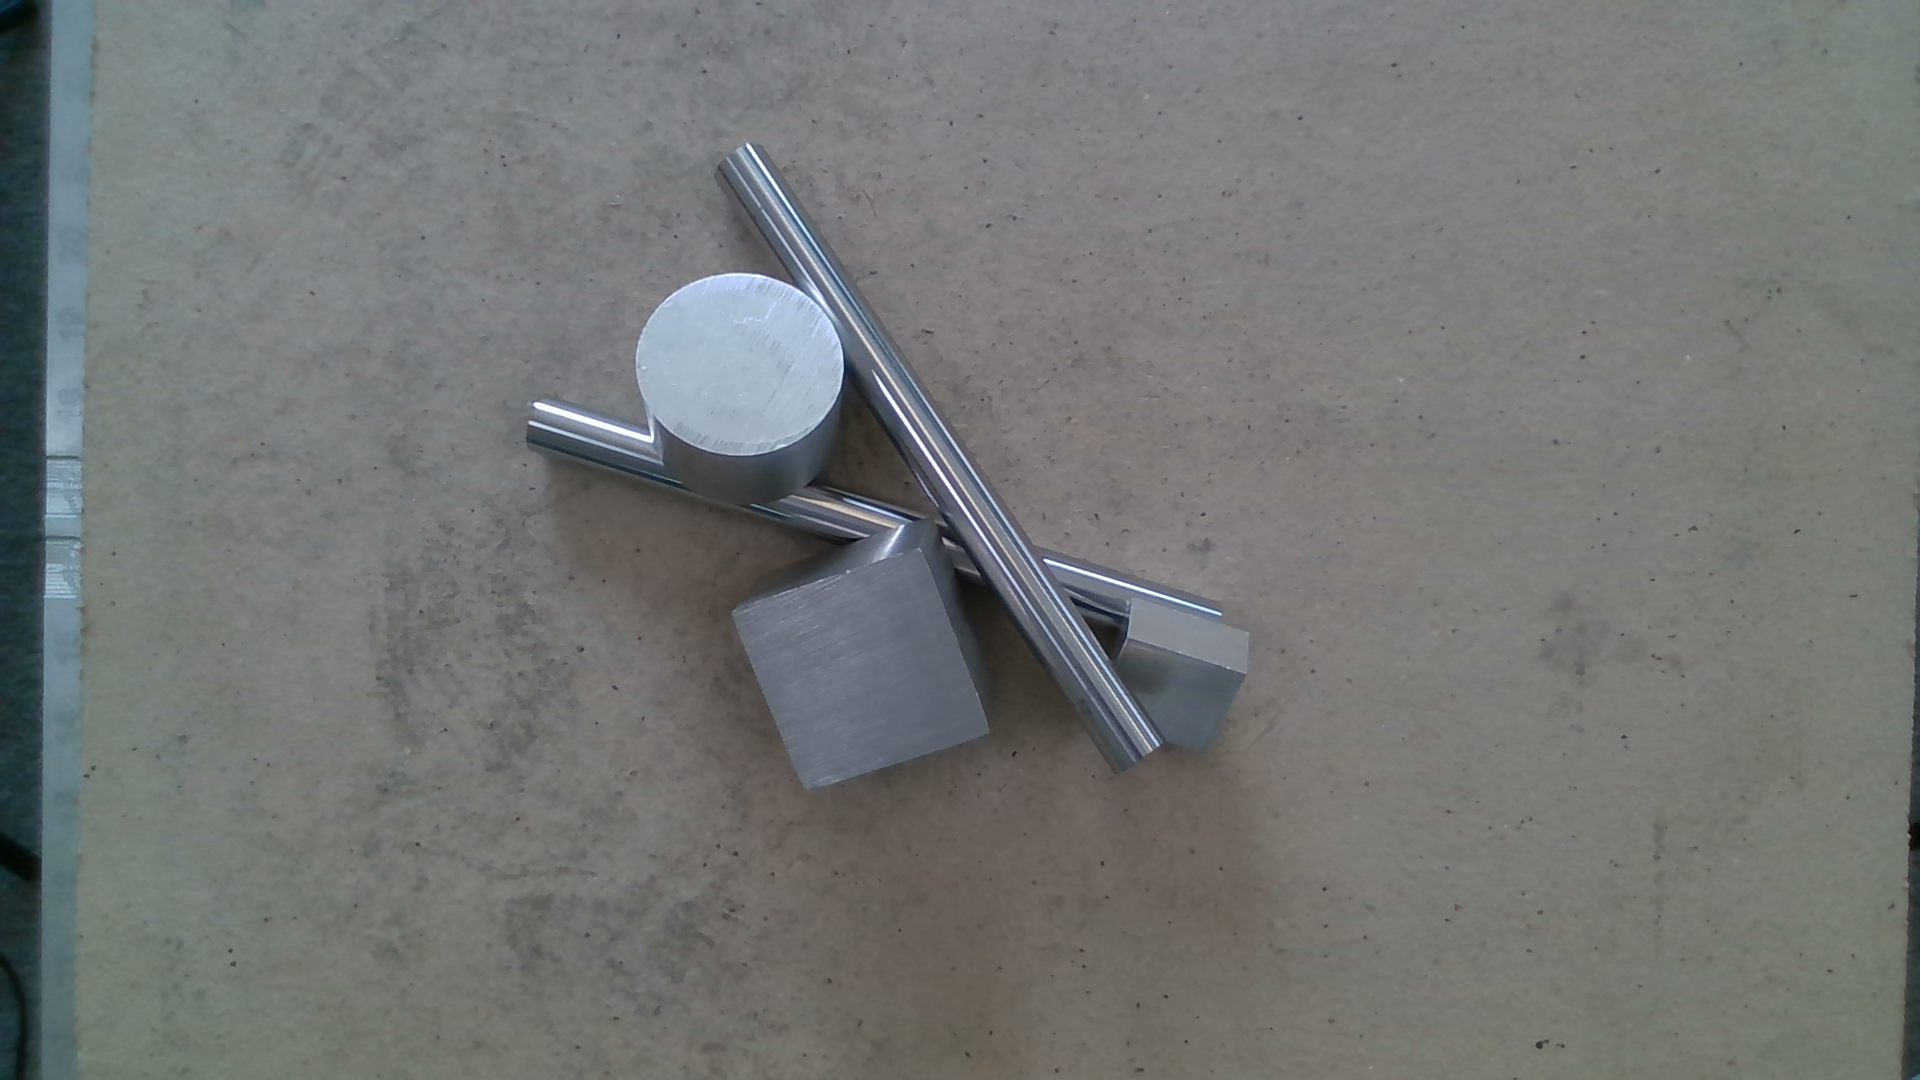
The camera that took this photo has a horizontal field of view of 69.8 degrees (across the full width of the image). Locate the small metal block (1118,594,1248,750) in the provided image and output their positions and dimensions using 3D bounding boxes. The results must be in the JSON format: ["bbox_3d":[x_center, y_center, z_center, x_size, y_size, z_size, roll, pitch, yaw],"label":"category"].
[{"bbox_3d":[0.087,0.056,0.576,0.050,0.025,0.050,17,130,-1],"label":"small metal block"}]

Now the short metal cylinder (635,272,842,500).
[{"bbox_3d":[-0.089,-0.061,0.562,0.080,0.050,0.080,2,70,-6],"label":"short metal cylinder"}]

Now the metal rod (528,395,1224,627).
[{"bbox_3d":[-0.035,-0.006,0.587,0.300,0.025,0.025,17,90,0],"label":"metal rod"}]

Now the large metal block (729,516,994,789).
[{"bbox_3d":[-0.037,0.045,0.561,0.080,0.050,0.080,-18,103,9],"label":"large metal block"}]

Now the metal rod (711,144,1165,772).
[{"bbox_3d":[-0.011,-0.037,0.570,0.025,0.025,0.300,-34,84,0],"label":"metal rod"}]
